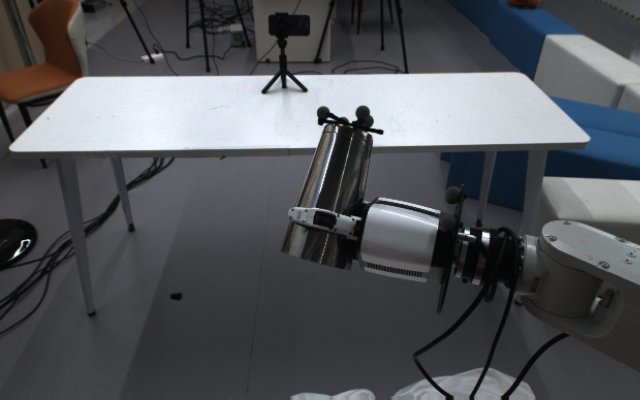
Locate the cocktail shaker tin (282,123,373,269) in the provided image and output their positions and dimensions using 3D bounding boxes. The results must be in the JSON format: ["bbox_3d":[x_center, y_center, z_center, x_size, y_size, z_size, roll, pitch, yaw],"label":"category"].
[{"bbox_3d":[0.016,-0.005,0.619,0.093,0.170,0.093,15,-4,1],"label":"cocktail shaker tin"}]
